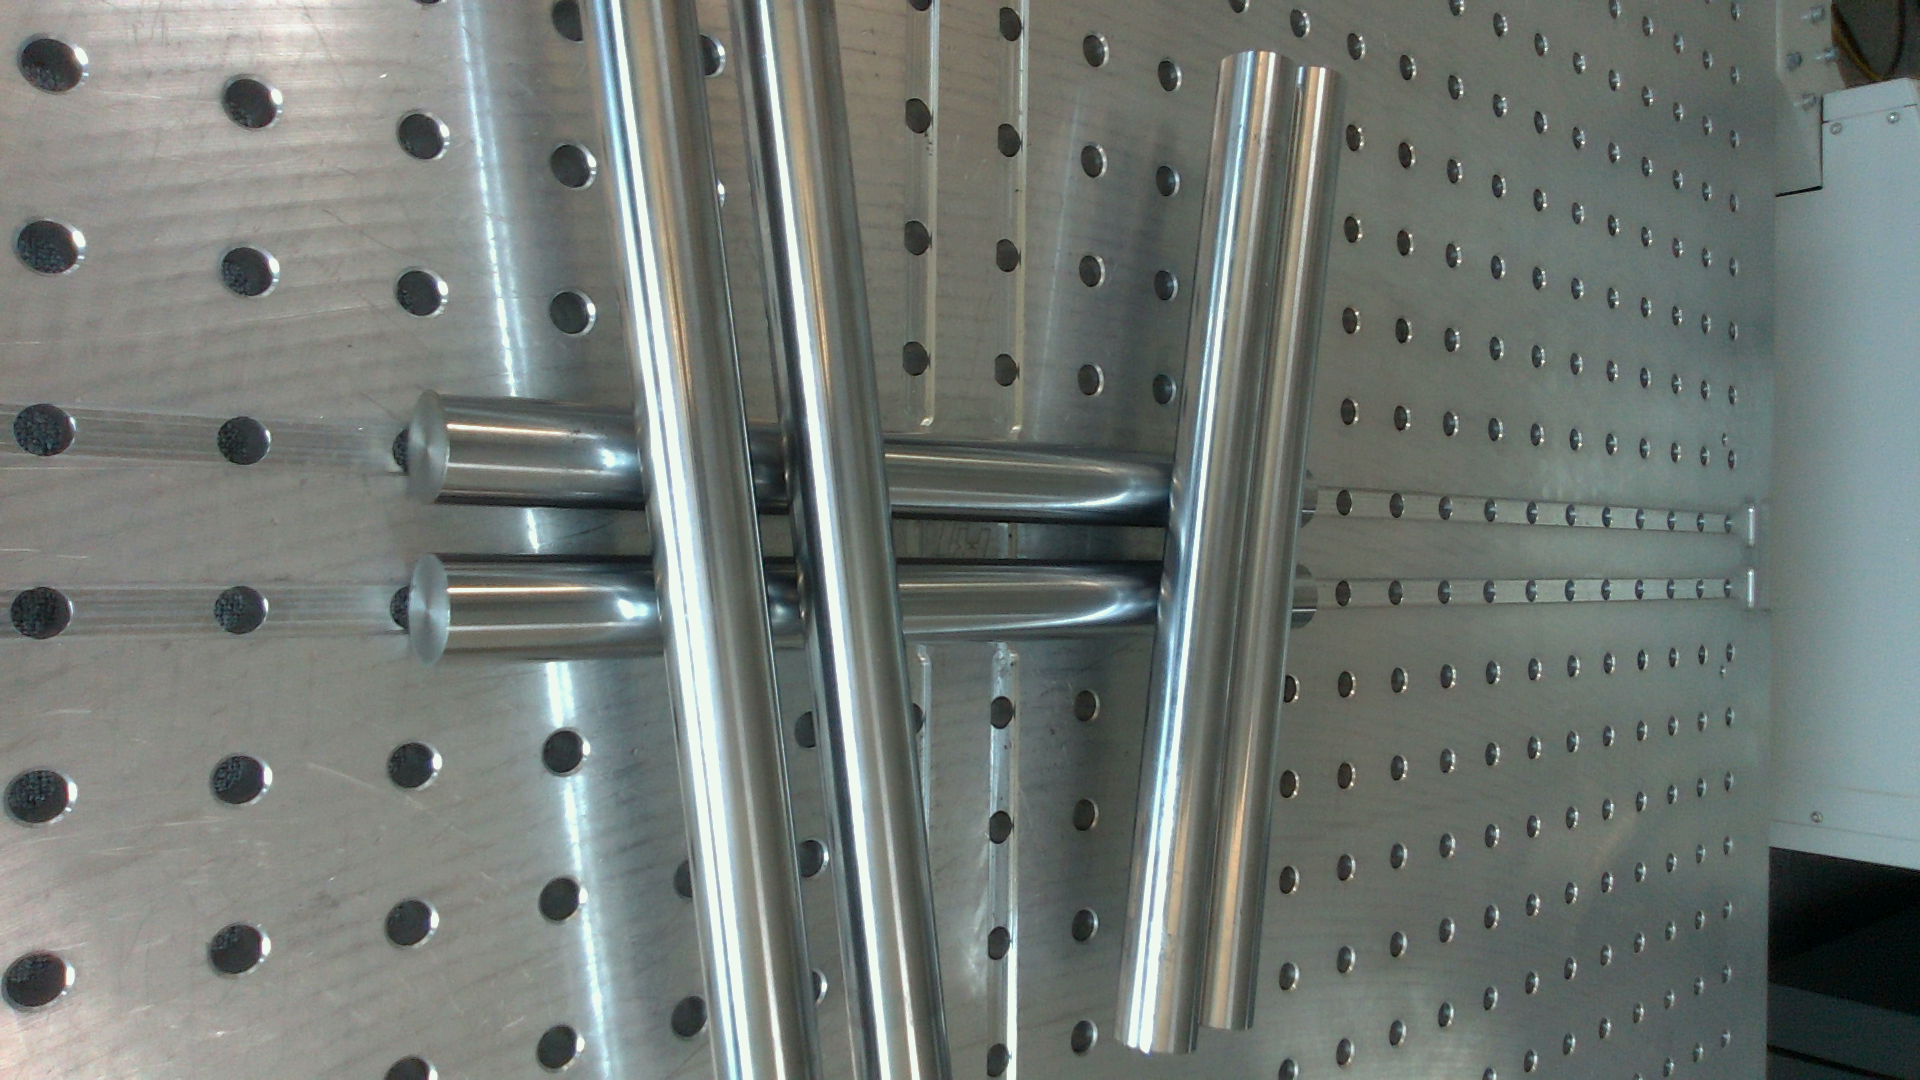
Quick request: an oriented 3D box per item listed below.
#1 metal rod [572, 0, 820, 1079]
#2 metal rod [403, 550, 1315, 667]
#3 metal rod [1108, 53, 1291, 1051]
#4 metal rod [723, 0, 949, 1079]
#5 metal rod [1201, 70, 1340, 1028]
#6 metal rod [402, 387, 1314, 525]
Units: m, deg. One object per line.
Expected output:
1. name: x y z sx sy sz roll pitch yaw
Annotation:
1. metal rod: -0.059 -0.004 0.310 0.025 0.025 0.300 -10 97 -39
2. metal rod: 0.000 0.017 0.392 0.301 0.025 0.025 1 89 -40
3. metal rod: 0.074 -0.001 0.422 0.025 0.025 0.300 12 83 -39
4. metal rod: -0.030 -0.006 0.335 0.025 0.025 0.300 -10 97 -39
5. metal rod: 0.094 -0.001 0.439 0.025 0.025 0.300 12 83 -39
6. metal rod: 0.000 -0.018 0.392 0.301 0.025 0.025 1 89 -40
